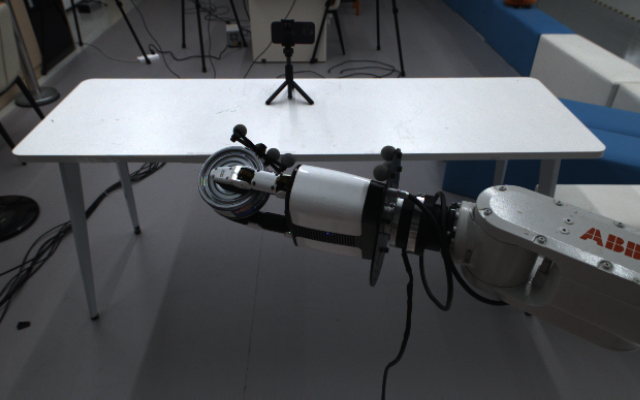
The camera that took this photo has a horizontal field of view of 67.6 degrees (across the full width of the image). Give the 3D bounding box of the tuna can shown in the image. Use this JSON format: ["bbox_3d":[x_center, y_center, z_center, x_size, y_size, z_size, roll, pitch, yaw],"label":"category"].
[{"bbox_3d":[-0.103,-0.022,0.593,0.085,0.034,0.085,-4,69,10],"label":"tuna can"}]
